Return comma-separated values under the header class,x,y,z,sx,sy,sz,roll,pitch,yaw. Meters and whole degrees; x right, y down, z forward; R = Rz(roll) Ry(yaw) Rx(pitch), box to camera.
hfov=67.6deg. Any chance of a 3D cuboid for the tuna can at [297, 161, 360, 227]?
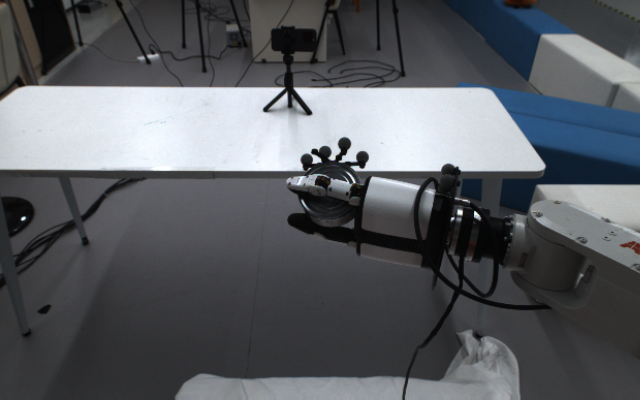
class,x,y,z,sx,sy,sz,roll,pitch,yaw
tuna can,0.015,-0.007,0.654,0.085,0.034,0.085,-6,60,10
